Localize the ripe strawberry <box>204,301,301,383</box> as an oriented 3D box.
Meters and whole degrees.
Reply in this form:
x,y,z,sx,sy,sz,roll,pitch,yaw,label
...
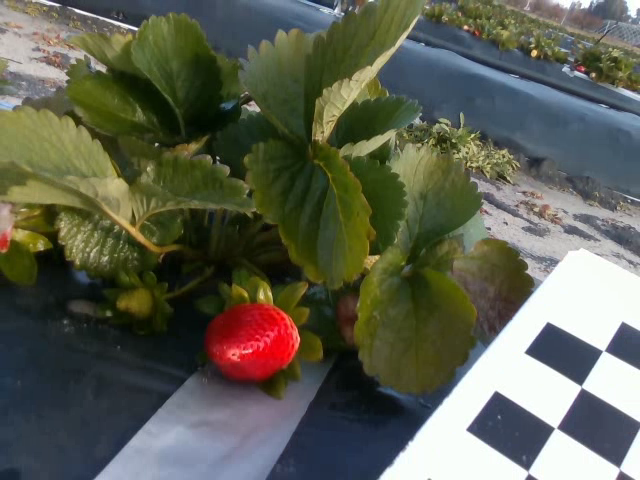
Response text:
x,y,z,sx,sy,sz,roll,pitch,yaw,label
-0.026,0.038,0.228,0.050,0.036,0.055,33,27,15,ripe strawberry
